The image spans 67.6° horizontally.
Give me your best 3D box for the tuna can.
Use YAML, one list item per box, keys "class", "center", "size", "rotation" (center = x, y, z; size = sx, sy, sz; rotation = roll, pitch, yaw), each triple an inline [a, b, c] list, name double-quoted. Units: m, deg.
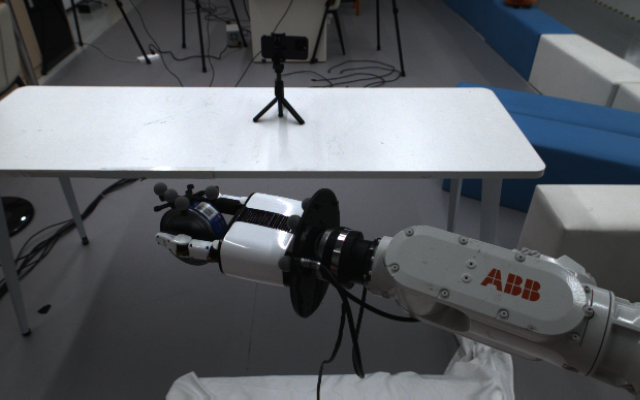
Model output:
- class: "tuna can"
  center: [-0.164, 0.041, 0.638]
  size: [0.085, 0.085, 0.034]
  rotation: [14, 29, 17]
